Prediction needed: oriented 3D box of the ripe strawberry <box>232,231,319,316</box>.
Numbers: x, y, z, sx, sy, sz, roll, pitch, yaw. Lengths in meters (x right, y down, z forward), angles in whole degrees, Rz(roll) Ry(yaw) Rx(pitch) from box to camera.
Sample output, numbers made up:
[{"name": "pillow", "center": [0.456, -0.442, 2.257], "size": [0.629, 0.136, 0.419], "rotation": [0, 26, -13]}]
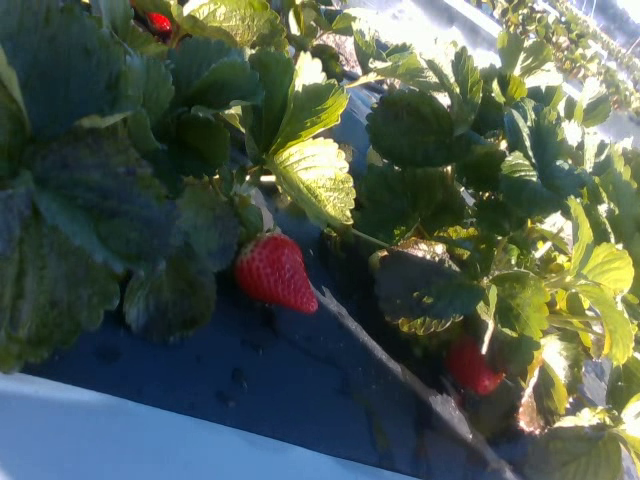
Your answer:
[{"name": "ripe strawberry", "center": [-0.020, 0.020, 0.329], "size": [0.046, 0.058, 0.042], "rotation": [-35, -6, -21]}]
